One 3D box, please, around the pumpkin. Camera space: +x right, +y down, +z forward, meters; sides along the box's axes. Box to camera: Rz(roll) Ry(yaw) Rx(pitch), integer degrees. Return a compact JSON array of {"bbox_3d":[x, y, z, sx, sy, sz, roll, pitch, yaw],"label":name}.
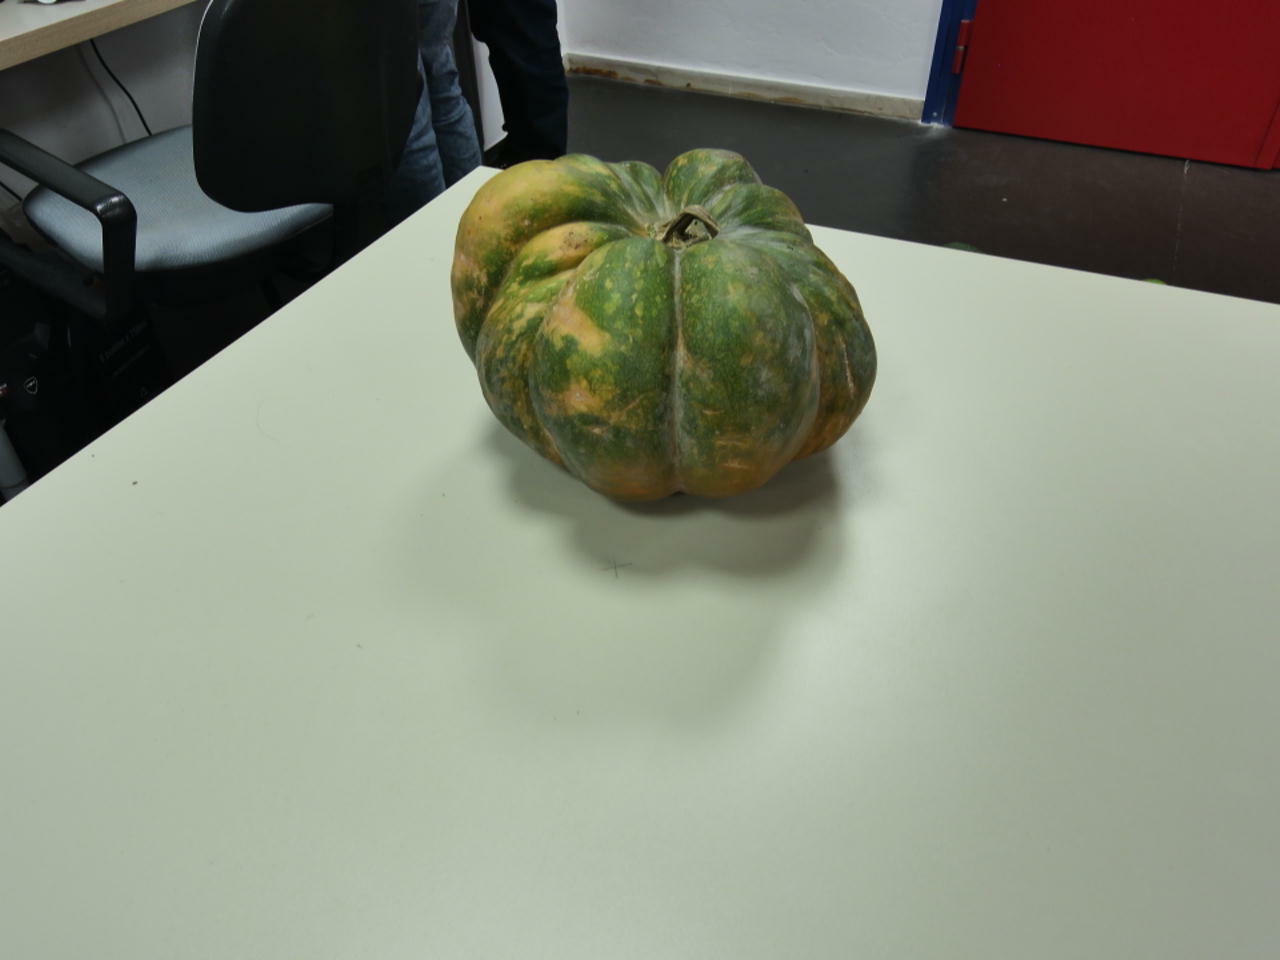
[{"bbox_3d":[0.014,-0.100,0.603,0.237,0.173,0.270,-18,42,-21],"label":"pumpkin"}]
